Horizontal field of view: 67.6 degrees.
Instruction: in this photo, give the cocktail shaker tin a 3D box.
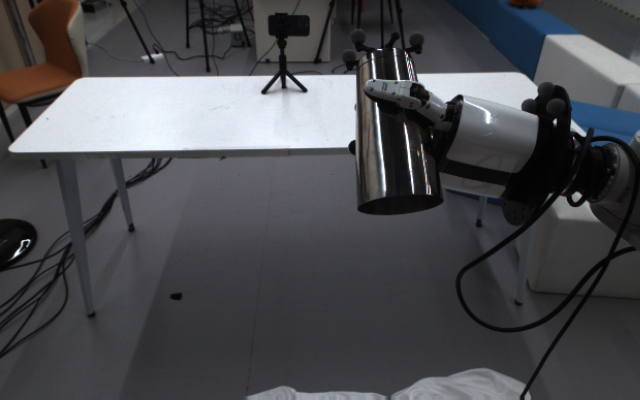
[{"bbox_3d":[0.081,-0.076,0.538,0.093,0.093,0.170,-3,77,-8],"label":"cocktail shaker tin"}]
